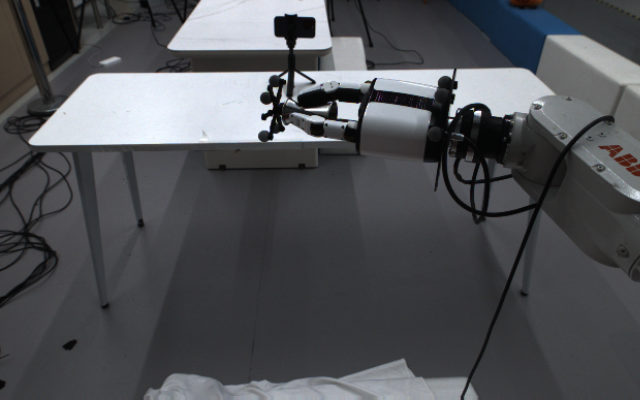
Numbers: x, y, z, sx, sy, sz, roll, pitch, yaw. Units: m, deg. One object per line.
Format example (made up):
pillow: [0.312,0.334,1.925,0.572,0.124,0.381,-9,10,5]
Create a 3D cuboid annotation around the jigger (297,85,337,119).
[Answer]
jigger: [-0.012,-0.123,0.675,0.071,0.043,0.043,10,35,15]
